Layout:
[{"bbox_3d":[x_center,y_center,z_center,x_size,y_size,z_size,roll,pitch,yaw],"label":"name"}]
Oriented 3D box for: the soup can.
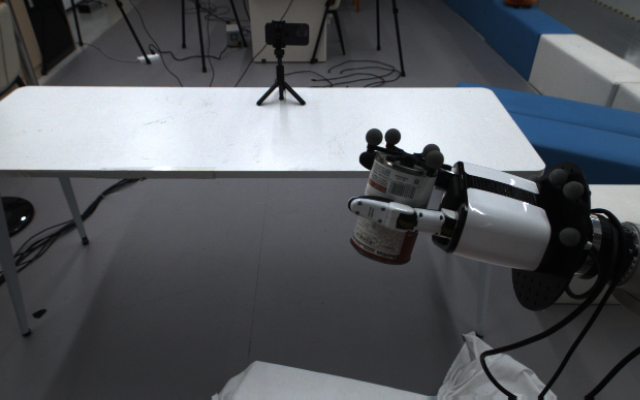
[{"bbox_3d":[0.079,0.007,0.511,0.067,0.101,0.067,13,18,-4],"label":"soup can"}]
